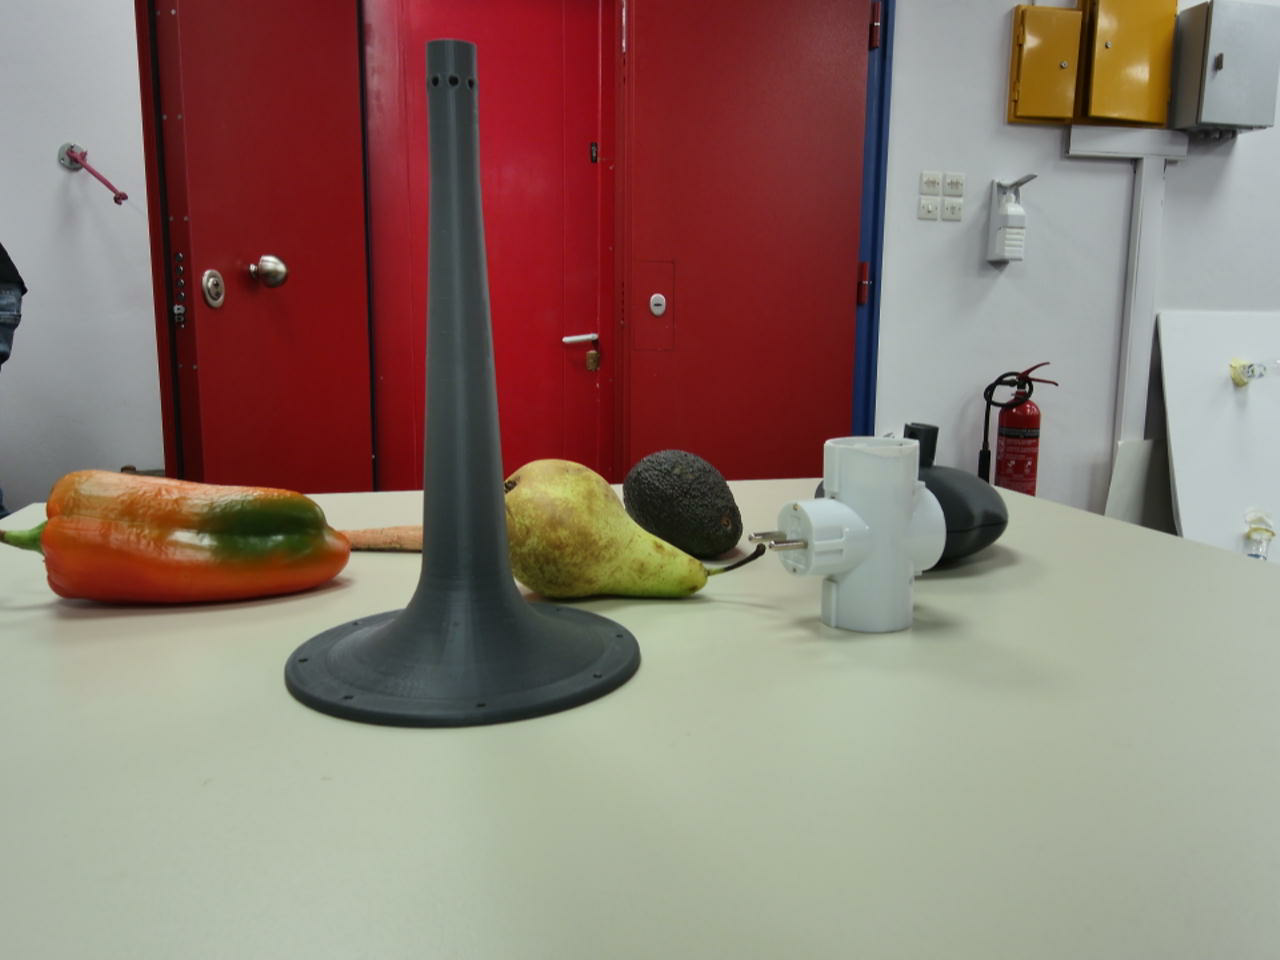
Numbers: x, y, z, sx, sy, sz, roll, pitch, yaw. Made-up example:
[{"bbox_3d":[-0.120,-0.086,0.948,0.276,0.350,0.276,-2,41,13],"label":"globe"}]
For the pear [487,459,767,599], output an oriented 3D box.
[{"bbox_3d":[-0.010,0.025,0.543,0.144,0.075,0.071,-1,7,-5],"label":"pear"}]
